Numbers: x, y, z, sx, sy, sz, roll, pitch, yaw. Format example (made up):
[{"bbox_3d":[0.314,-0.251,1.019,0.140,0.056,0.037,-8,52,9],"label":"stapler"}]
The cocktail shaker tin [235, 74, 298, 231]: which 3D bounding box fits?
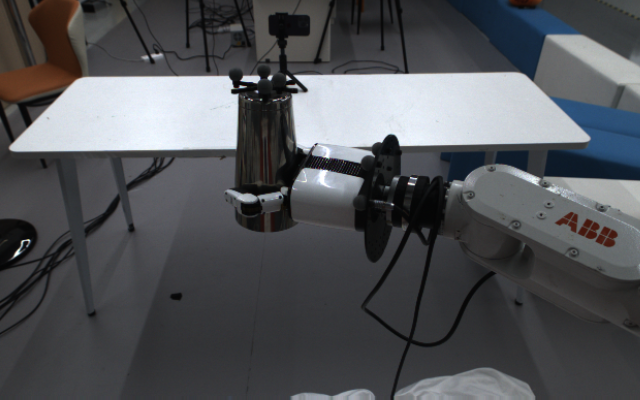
[{"bbox_3d":[-0.068,-0.055,0.628,0.093,0.170,0.093,1,28,-1],"label":"cocktail shaker tin"}]
